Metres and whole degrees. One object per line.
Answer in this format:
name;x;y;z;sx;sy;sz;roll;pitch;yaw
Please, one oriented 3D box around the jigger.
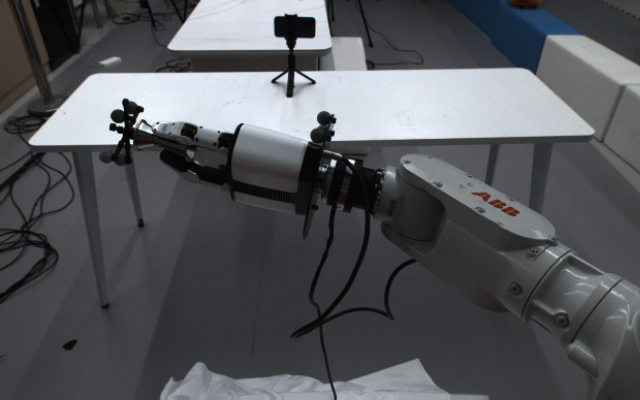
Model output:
jigger;-0.192;-0.078;0.615;0.071;0.043;0.043;11;35;1
